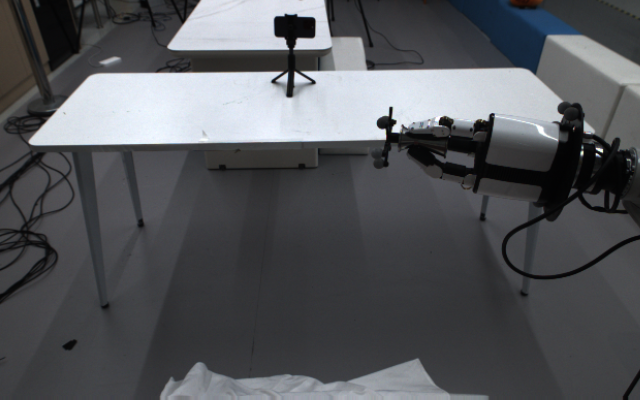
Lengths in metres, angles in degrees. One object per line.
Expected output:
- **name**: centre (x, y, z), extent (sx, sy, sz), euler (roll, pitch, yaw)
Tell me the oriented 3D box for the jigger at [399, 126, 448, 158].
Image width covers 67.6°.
- **jigger**: centre (0.155, -0.090, 0.698), extent (0.071, 0.043, 0.043), euler (8, 35, 12)
